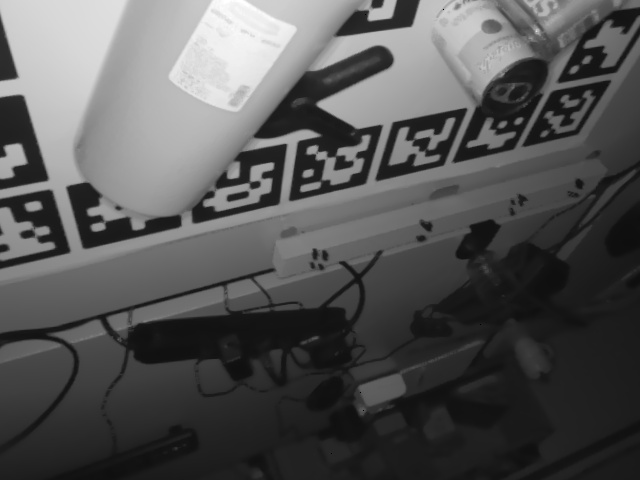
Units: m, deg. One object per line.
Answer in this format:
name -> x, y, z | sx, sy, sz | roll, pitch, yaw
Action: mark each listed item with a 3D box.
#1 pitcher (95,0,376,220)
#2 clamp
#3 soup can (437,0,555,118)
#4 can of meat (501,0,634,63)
pitcher -> -0.071, -0.125, 0.519 | 0.192, 0.133, 0.238 | -26, 165, -47
clamp -> -0.002, -0.135, 0.675 | 0.167, 0.036, 0.120 | -11, 150, -18
soup can -> 0.165, -0.175, 0.660 | 0.068, 0.102, 0.067 | -21, 148, -13
can of meat -> 0.218, -0.223, 0.619 | 0.083, 0.102, 0.058 | -37, 147, 10
